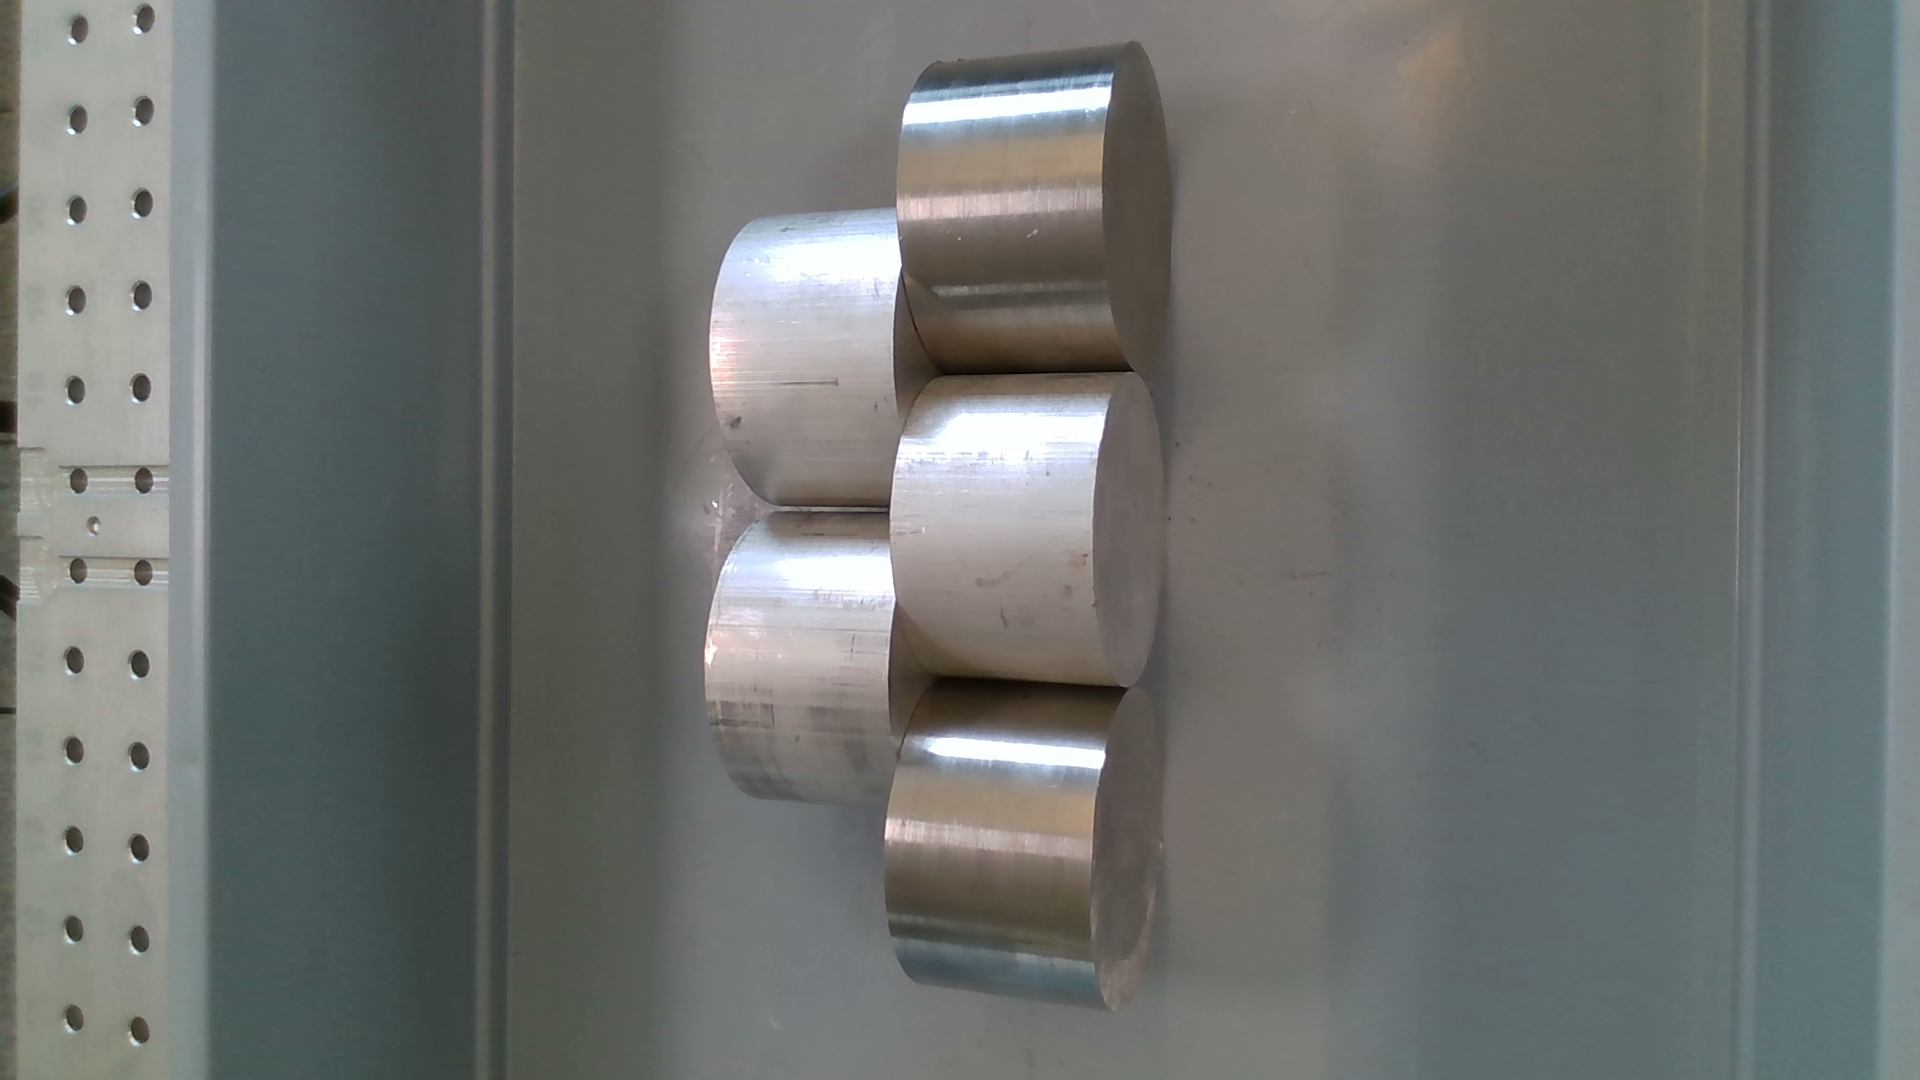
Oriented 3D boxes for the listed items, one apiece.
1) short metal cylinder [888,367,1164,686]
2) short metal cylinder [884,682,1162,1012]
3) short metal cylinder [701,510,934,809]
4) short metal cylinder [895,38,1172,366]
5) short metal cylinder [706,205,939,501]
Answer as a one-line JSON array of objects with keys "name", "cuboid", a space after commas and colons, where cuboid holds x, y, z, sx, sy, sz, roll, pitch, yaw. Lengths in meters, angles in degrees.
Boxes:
[{"name": "short metal cylinder", "cuboid": [0.020, -0.004, 0.356, 0.050, 0.080, 0.080, 1, 90, 20]}, {"name": "short metal cylinder", "cuboid": [0.019, 0.077, 0.357, 0.050, 0.080, 0.080, 2, 91, 20]}, {"name": "short metal cylinder", "cuboid": [-0.028, 0.032, 0.374, 0.050, 0.080, 0.080, 1, 90, 20]}, {"name": "short metal cylinder", "cuboid": [0.022, -0.084, 0.355, 0.050, 0.080, 0.080, 1, 90, 20]}, {"name": "short metal cylinder", "cuboid": [-0.026, -0.050, 0.373, 0.050, 0.080, 0.080, 1, 90, 20]}]
